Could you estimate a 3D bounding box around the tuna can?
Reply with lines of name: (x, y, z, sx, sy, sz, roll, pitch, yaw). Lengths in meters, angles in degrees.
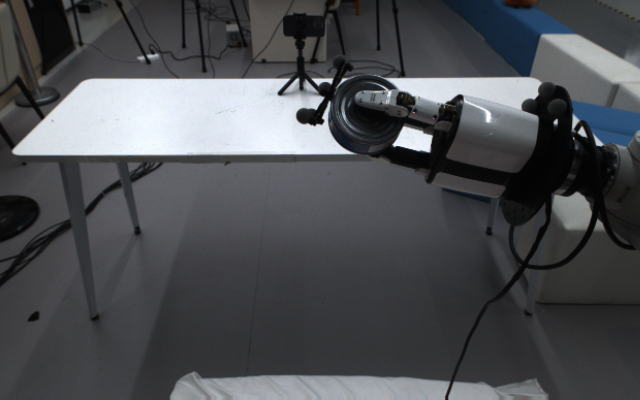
tuna can: (0.055, -0.098, 0.546, 0.085, 0.034, 0.085, 1, 75, -5)
